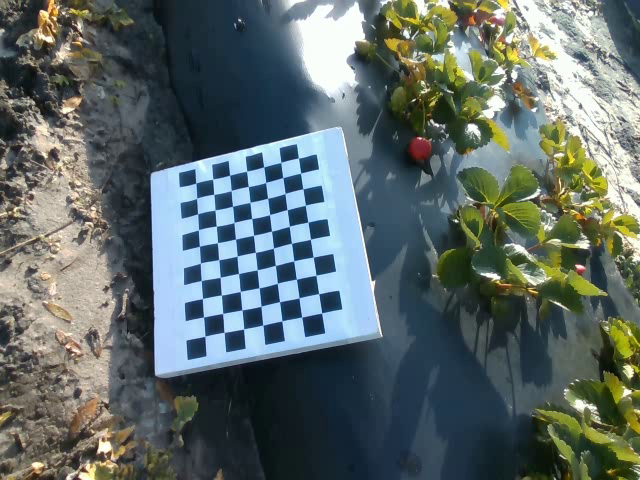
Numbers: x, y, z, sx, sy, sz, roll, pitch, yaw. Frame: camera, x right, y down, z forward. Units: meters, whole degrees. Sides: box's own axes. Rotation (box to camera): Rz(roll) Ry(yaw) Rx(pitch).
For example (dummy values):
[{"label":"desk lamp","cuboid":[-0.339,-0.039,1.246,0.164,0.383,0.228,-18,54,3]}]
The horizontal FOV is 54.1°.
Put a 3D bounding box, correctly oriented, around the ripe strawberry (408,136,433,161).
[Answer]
[{"label":"ripe strawberry","cuboid":[0.127,-0.113,0.795,0.030,0.033,0.045,13,38,22]}]
